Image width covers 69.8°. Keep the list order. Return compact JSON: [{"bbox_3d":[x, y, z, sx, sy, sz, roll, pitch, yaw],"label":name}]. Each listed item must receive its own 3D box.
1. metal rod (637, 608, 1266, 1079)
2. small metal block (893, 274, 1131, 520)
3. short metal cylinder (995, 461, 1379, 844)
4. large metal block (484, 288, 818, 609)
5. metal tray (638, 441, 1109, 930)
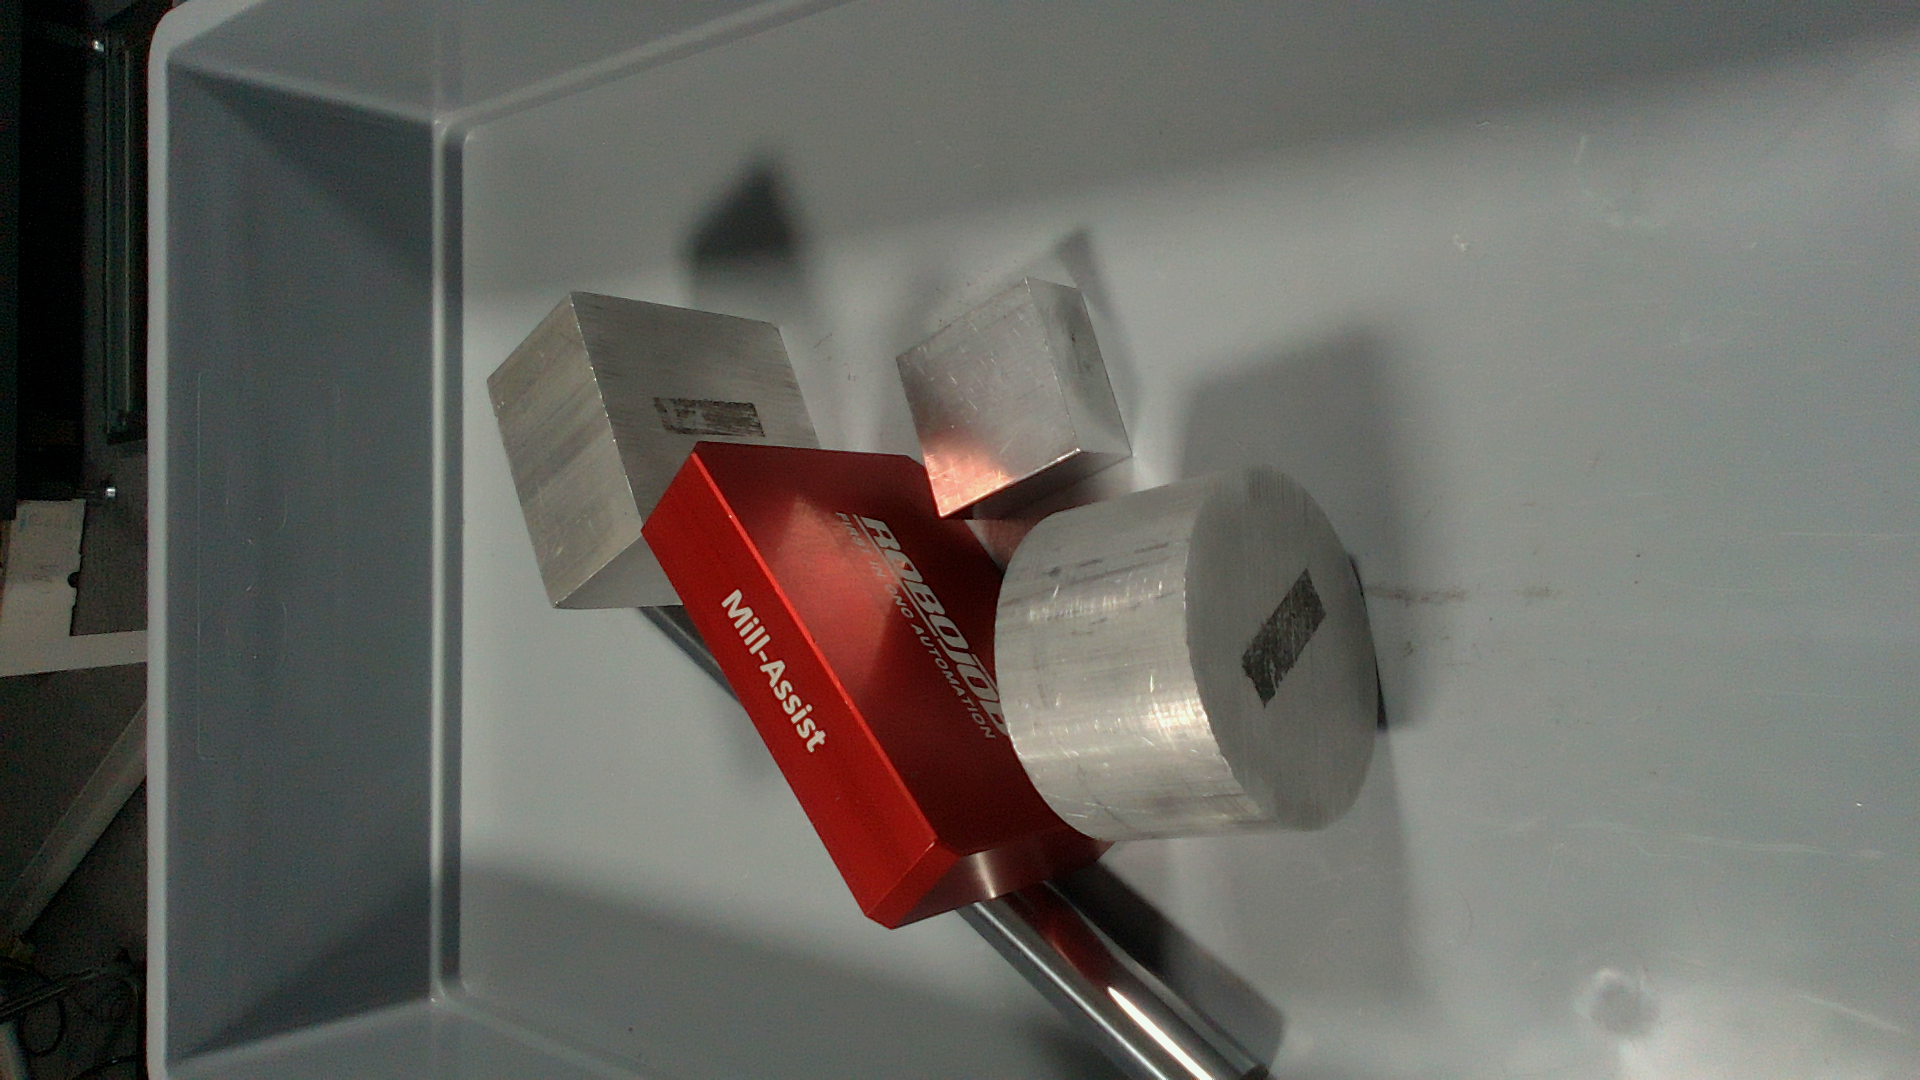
[{"bbox_3d":[-0.033,0.066,0.422,0.299,0.025,0.025,36,112,34],"label":"metal rod"},{"bbox_3d":[0.013,-0.038,0.381,0.050,0.025,0.050,-26,74,37],"label":"small metal block"},{"bbox_3d":[0.053,0.027,0.313,0.050,0.080,0.080,-15,80,40],"label":"short metal cylinder"},{"bbox_3d":[-0.092,-0.027,0.435,0.050,0.080,0.080,-33,69,35],"label":"large metal block"},{"bbox_3d":[-0.017,0.031,0.364,0.030,0.090,0.130,-51,60,28],"label":"metal tray"}]
